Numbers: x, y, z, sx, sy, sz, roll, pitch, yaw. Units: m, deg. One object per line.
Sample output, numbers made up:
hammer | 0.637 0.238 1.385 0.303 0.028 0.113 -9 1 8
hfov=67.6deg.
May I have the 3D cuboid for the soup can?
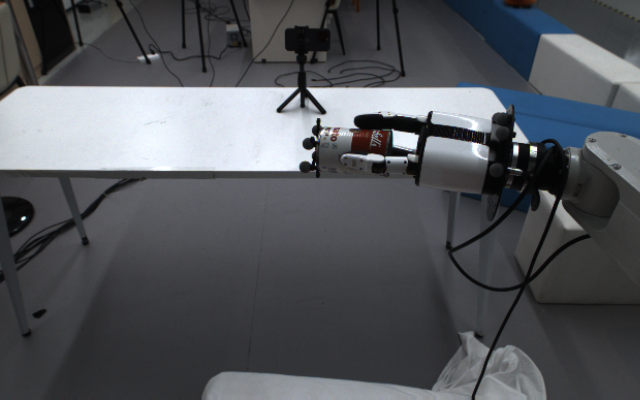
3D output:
soup can | 0.053 -0.071 0.703 0.101 0.067 0.067 5 35 13
